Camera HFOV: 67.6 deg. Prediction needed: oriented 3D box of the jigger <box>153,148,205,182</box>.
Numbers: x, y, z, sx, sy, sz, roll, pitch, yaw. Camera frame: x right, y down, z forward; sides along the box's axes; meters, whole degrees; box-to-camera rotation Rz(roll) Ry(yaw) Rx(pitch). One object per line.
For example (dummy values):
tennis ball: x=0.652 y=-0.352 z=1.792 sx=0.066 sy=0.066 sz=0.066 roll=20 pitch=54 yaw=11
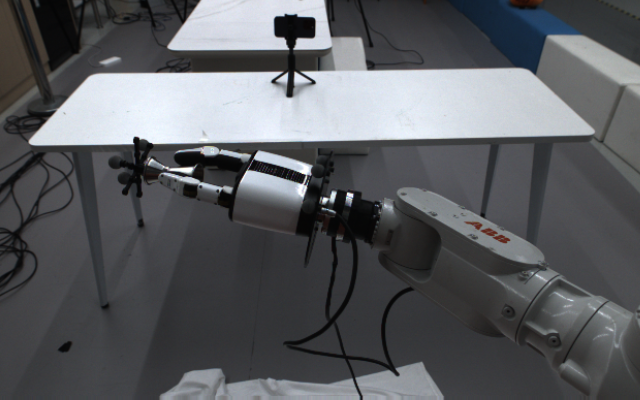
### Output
jigger: x=-0.189 y=-0.038 z=0.655 sx=0.071 sy=0.043 sz=0.043 roll=10 pitch=35 yaw=5
